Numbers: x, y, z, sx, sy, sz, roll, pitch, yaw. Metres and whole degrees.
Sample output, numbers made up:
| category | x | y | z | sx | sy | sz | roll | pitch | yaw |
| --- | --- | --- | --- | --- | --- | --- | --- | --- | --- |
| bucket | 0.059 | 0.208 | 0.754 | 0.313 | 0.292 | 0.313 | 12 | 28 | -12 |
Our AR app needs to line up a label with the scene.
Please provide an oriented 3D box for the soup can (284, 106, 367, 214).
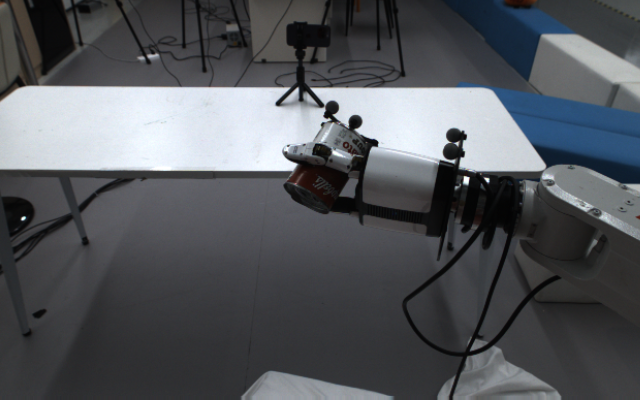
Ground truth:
| category | x | y | z | sx | sy | sz | roll | pitch | yaw |
| --- | --- | --- | --- | --- | --- | --- | --- | --- | --- |
| soup can | 0.009 | -0.042 | 0.619 | 0.067 | 0.067 | 0.101 | 24 | 73 | 28 |
